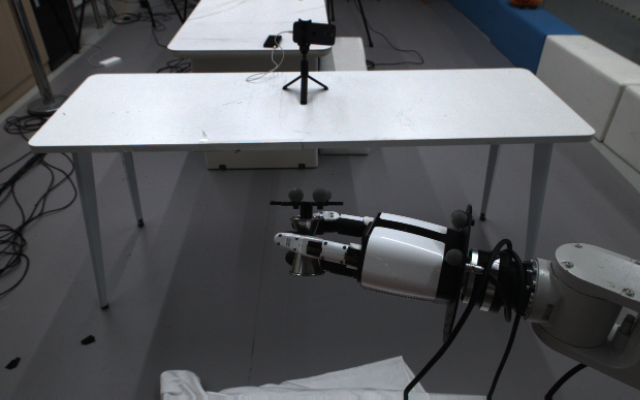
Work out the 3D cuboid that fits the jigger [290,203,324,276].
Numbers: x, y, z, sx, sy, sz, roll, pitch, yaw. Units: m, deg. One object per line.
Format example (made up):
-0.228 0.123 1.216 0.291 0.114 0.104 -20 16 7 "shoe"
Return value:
-0.016 0.054 0.591 0.043 0.071 0.043 -1 2 0 "jigger"
